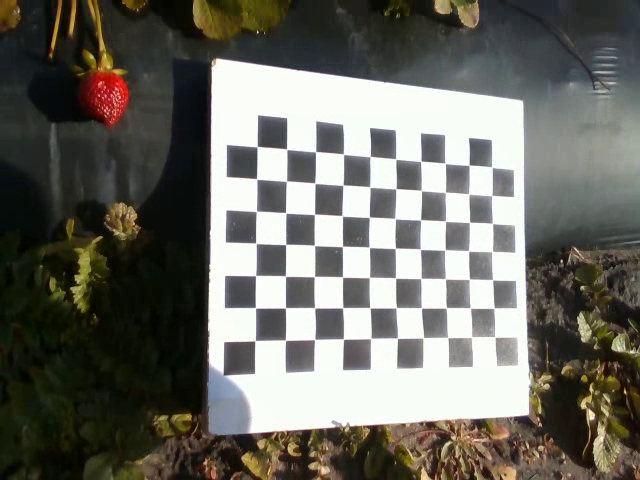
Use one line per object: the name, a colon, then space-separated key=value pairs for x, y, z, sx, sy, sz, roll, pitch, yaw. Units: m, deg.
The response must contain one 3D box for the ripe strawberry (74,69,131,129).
ripe strawberry: x=-0.139 y=-0.090 z=0.607 sx=0.040 sy=0.044 sz=0.036 roll=-19 pitch=-8 yaw=-26
